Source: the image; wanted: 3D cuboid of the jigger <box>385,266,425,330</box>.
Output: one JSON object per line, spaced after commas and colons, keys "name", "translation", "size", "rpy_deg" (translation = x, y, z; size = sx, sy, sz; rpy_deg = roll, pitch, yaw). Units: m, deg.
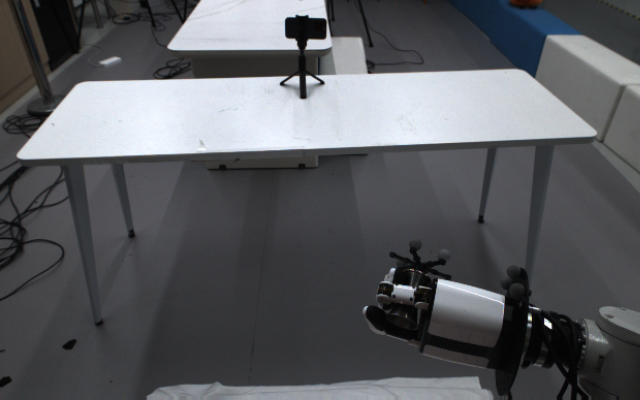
{"name": "jigger", "translation": [0.119, 0.127, 0.638], "size": [0.043, 0.043, 0.071], "rpy_deg": [15, 58, 18]}
